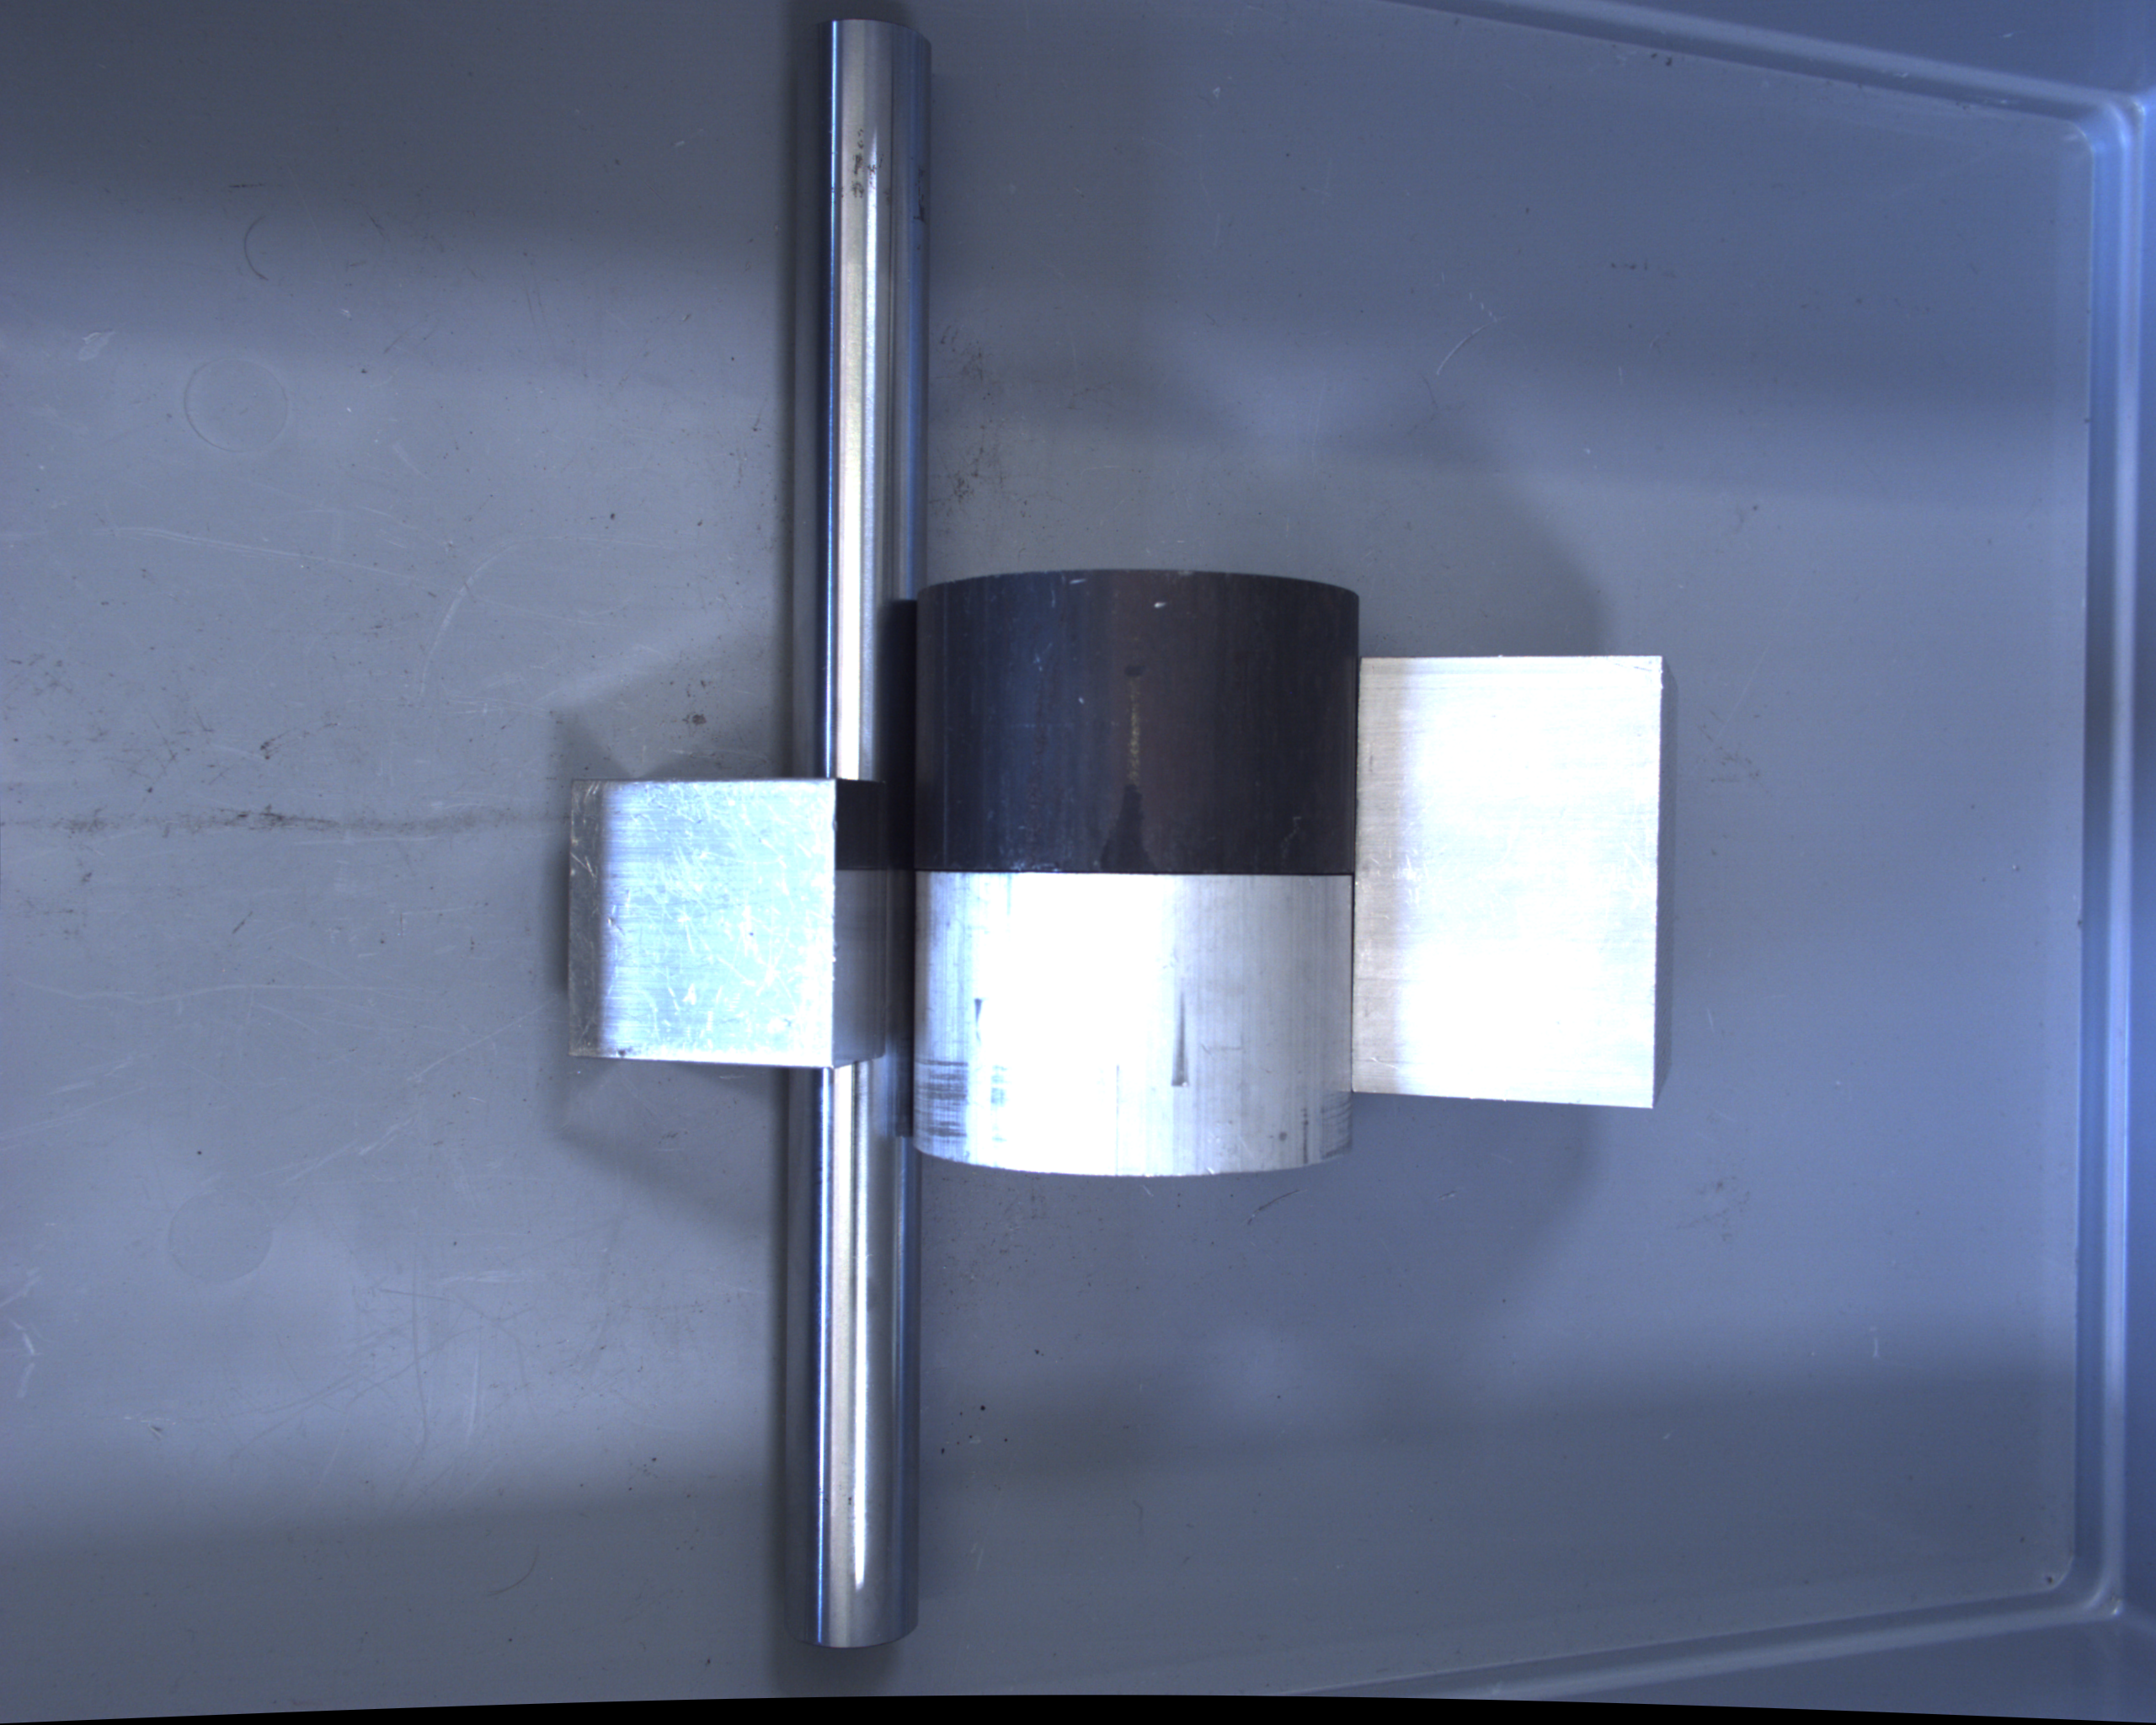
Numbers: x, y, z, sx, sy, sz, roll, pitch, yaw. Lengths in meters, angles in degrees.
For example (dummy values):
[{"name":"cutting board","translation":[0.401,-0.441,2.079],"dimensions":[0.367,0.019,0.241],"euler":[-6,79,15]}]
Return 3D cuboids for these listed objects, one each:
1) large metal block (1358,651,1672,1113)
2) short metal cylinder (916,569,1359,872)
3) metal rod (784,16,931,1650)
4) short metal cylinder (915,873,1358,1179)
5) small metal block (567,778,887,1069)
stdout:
[{"name":"large metal block","translation":[0.087,0.003,0.404],"dimensions":[0.050,0.080,0.079],"euler":[1,90,18]},{"name":"short metal cylinder","translation":[0.011,-0.024,0.383],"dimensions":[0.081,0.080,0.050],"euler":[1,90,-20]},{"name":"metal rod","translation":[-0.041,-0.005,0.393],"dimensions":[0.025,0.025,0.298],"euler":[0,90,-20]},{"name":"short metal cylinder","translation":[0.011,0.027,0.383],"dimensions":[0.081,0.080,0.050],"euler":[1,90,-20]},{"name":"small metal block","translation":[-0.062,0.010,0.374],"dimensions":[0.050,0.025,0.050],"euler":[0,89,14]}]
